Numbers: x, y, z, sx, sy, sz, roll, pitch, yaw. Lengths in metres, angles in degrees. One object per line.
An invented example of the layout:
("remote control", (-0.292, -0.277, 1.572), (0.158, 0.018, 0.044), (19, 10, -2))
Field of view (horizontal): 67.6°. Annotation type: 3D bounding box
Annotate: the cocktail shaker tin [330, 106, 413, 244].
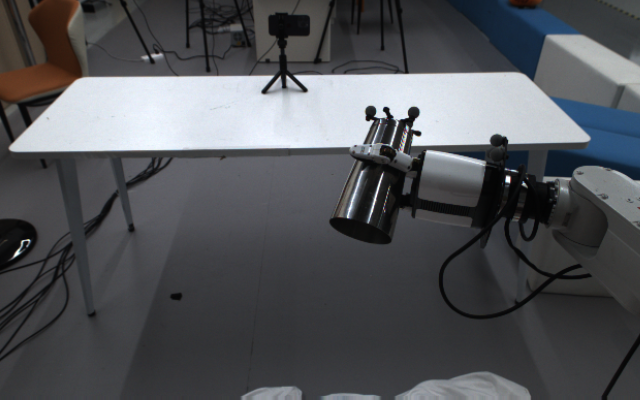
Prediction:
("cocktail shaker tin", (0.083, -0.032, 0.708), (0.093, 0.093, 0.170), (13, 70, 16))
